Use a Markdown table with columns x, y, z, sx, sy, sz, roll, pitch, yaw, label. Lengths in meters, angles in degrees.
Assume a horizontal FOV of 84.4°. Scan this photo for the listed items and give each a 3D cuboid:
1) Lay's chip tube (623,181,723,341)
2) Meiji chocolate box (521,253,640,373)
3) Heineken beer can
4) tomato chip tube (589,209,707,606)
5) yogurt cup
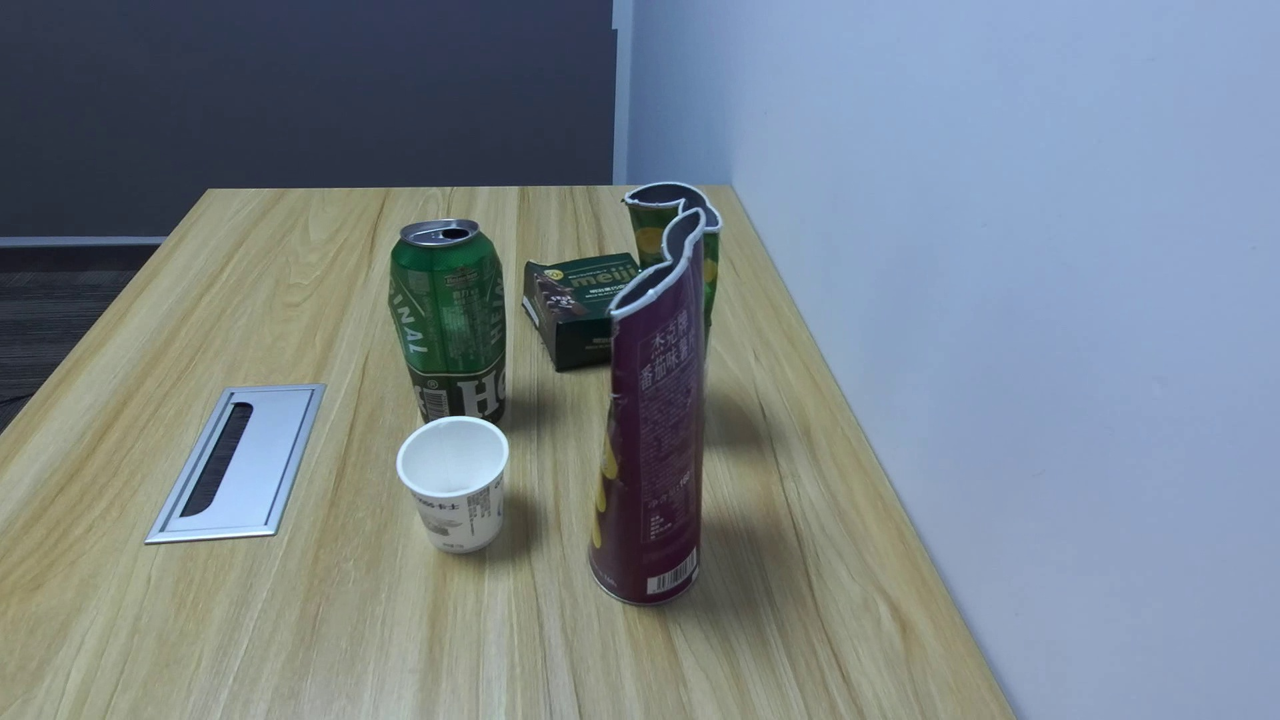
| x | y | z | sx | sy | sz | roll | pitch | yaw | label |
| --- | --- | --- | --- | --- | --- | --- | --- | --- | --- |
| 0.021 | -0.025 | 0.516 | 0.077 | 0.201 | 0.069 | 12 | 35 | 14 | Lay's chip tube |
| -0.045 | -0.052 | 0.698 | 0.116 | 0.058 | 0.122 | -10 | 42 | -21 | Meiji chocolate box |
| -0.140 | -0.021 | 0.535 | 0.068 | 0.168 | 0.069 | 20 | 37 | 26 | Heineken beer can |
| 0.011 | 0.040 | 0.409 | 0.090 | 0.236 | 0.077 | -17 | 41 | -21 | tomato chip tube |
| -0.122 | 0.088 | 0.475 | 0.072 | 0.068 | 0.072 | 2 | 38 | -1 | yogurt cup |
